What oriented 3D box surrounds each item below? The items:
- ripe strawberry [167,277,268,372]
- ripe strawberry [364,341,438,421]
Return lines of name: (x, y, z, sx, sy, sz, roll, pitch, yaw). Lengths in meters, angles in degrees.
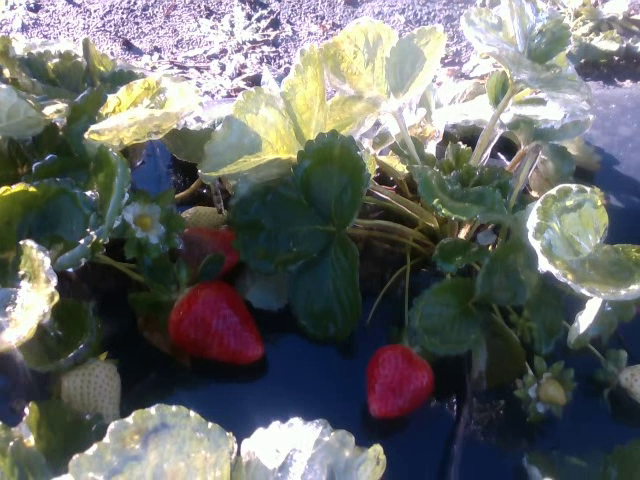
ripe strawberry: (-0.051, 0.045, 0.312, 0.056, 0.044, 0.040, 41, -19, 11)
ripe strawberry: (0.037, 0.072, 0.294, 0.039, 0.047, 0.040, 31, -32, 7)
